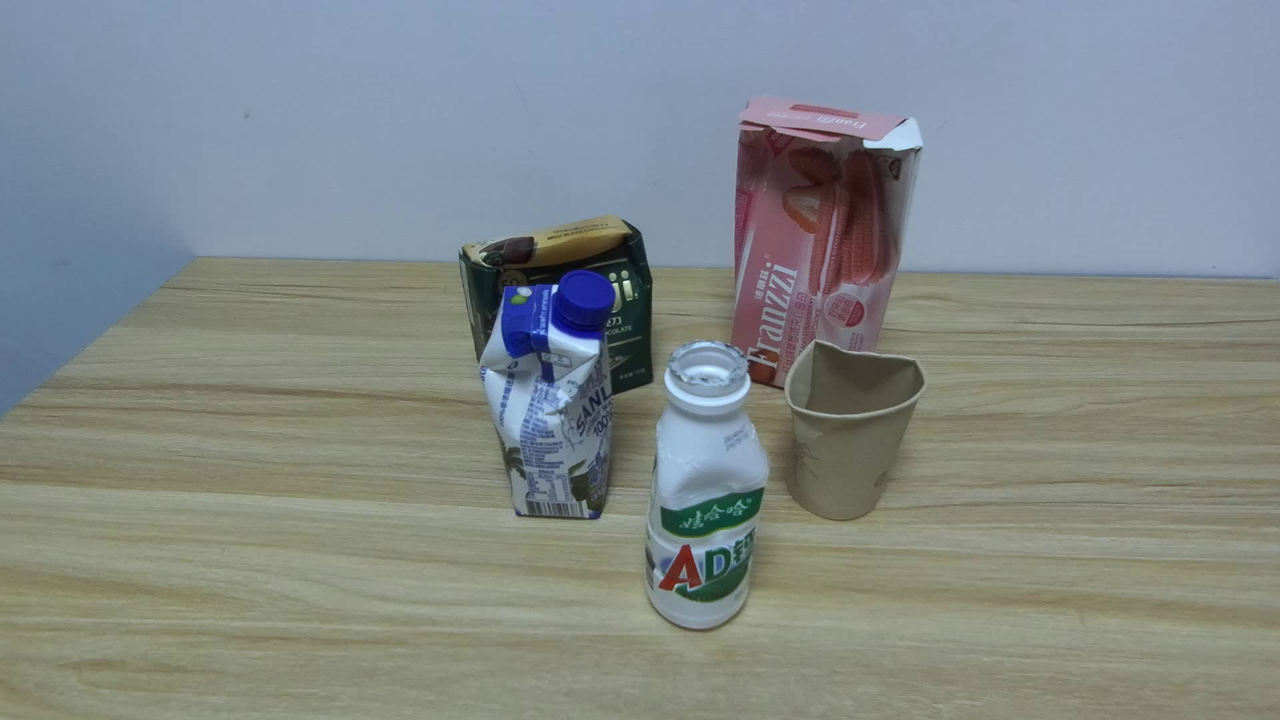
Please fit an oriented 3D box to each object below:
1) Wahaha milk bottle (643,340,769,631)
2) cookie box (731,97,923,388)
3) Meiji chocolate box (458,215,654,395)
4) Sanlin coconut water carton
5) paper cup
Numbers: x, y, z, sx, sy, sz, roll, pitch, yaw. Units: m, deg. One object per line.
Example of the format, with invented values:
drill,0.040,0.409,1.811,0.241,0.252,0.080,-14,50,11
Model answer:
Wahaha milk bottle,0.029,0.059,0.322,0.055,0.149,0.055,-1,33,1
cookie box,0.107,-0.062,0.450,0.118,0.184,0.055,17,40,25
Meiji chocolate box,-0.053,-0.029,0.478,0.113,0.111,0.058,-15,27,-19
Sanlin coconut water carton,-0.047,0.020,0.380,0.070,0.144,0.060,3,38,3
paper cup,0.113,0.043,0.390,0.071,0.084,0.066,10,37,17
